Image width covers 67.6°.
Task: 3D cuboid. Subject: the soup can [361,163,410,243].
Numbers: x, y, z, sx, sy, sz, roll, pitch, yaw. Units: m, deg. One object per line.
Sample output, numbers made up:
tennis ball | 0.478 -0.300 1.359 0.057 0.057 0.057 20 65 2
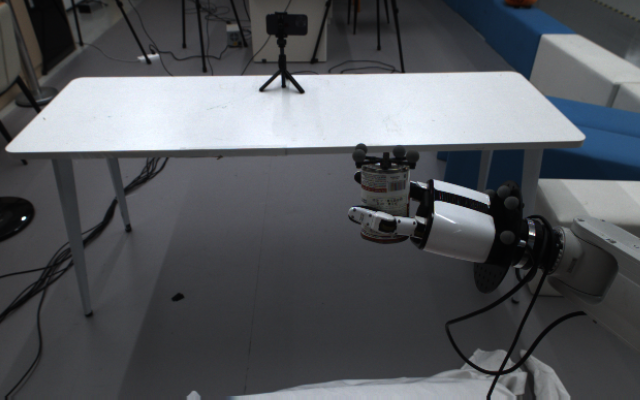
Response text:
soup can | 0.091 0.001 0.660 0.067 0.101 0.067 -2 17 0
